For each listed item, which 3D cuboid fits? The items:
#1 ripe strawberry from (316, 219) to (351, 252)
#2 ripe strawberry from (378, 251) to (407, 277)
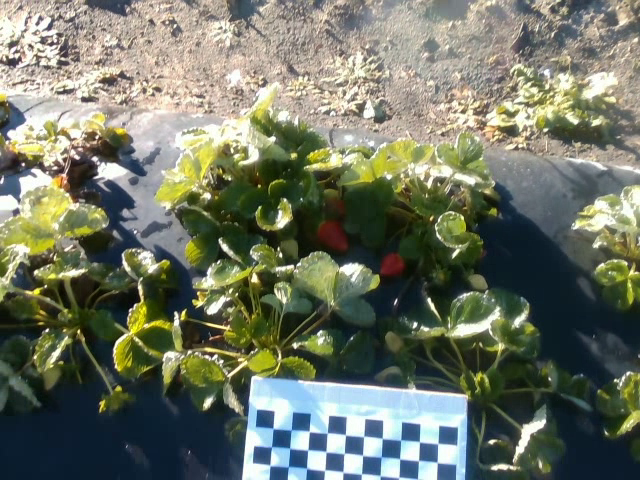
[{"bbox_3d":[0.021,-0.006,0.964,0.044,0.056,0.040,-34,-12,-11],"label":"ripe strawberry"},{"bbox_3d":[0.101,0.037,0.940,0.047,0.039,0.040,-43,-11,-24],"label":"ripe strawberry"}]
